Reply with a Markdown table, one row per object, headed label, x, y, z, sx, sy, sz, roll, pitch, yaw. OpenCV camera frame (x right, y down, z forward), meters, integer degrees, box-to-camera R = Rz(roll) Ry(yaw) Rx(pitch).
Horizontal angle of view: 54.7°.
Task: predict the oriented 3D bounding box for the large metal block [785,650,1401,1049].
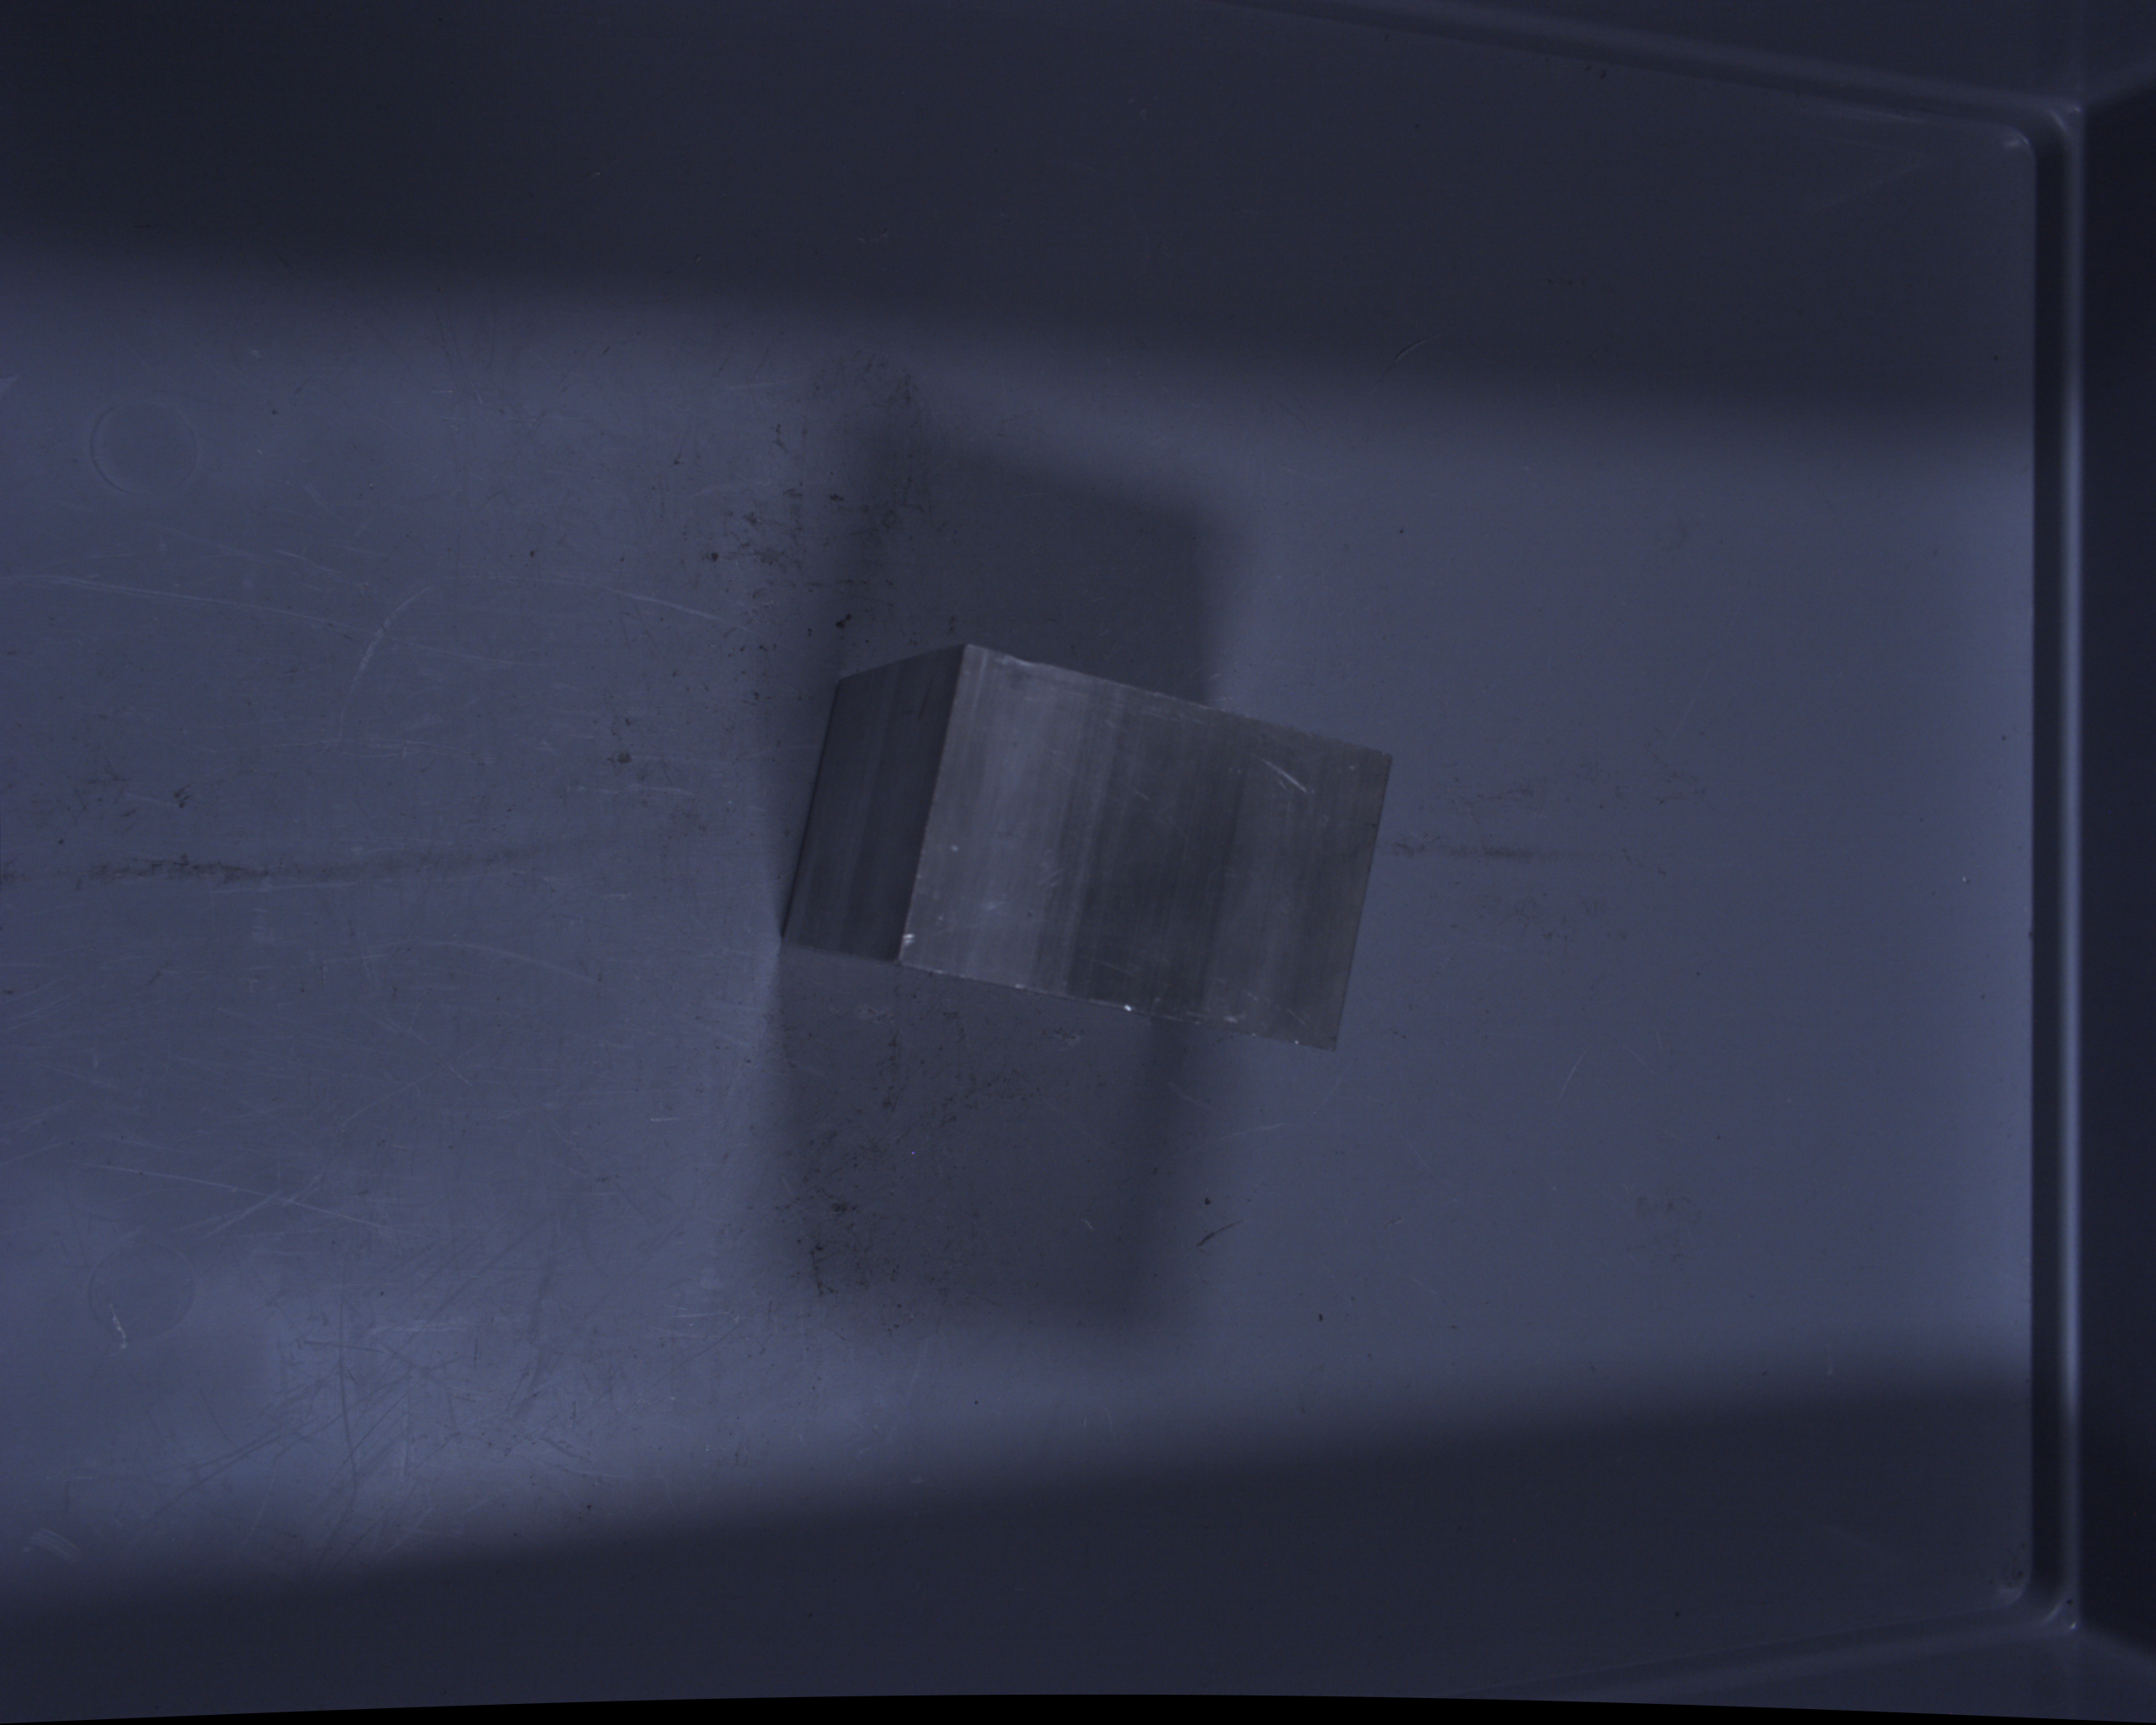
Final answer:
| label | x | y | z | sx | sy | sz | roll | pitch | yaw |
| --- | --- | --- | --- | --- | --- | --- | --- | --- | --- |
| large metal block | -0.001 | -0.001 | 0.380 | 0.081 | 0.080 | 0.050 | 13 | 86 | -20 |
